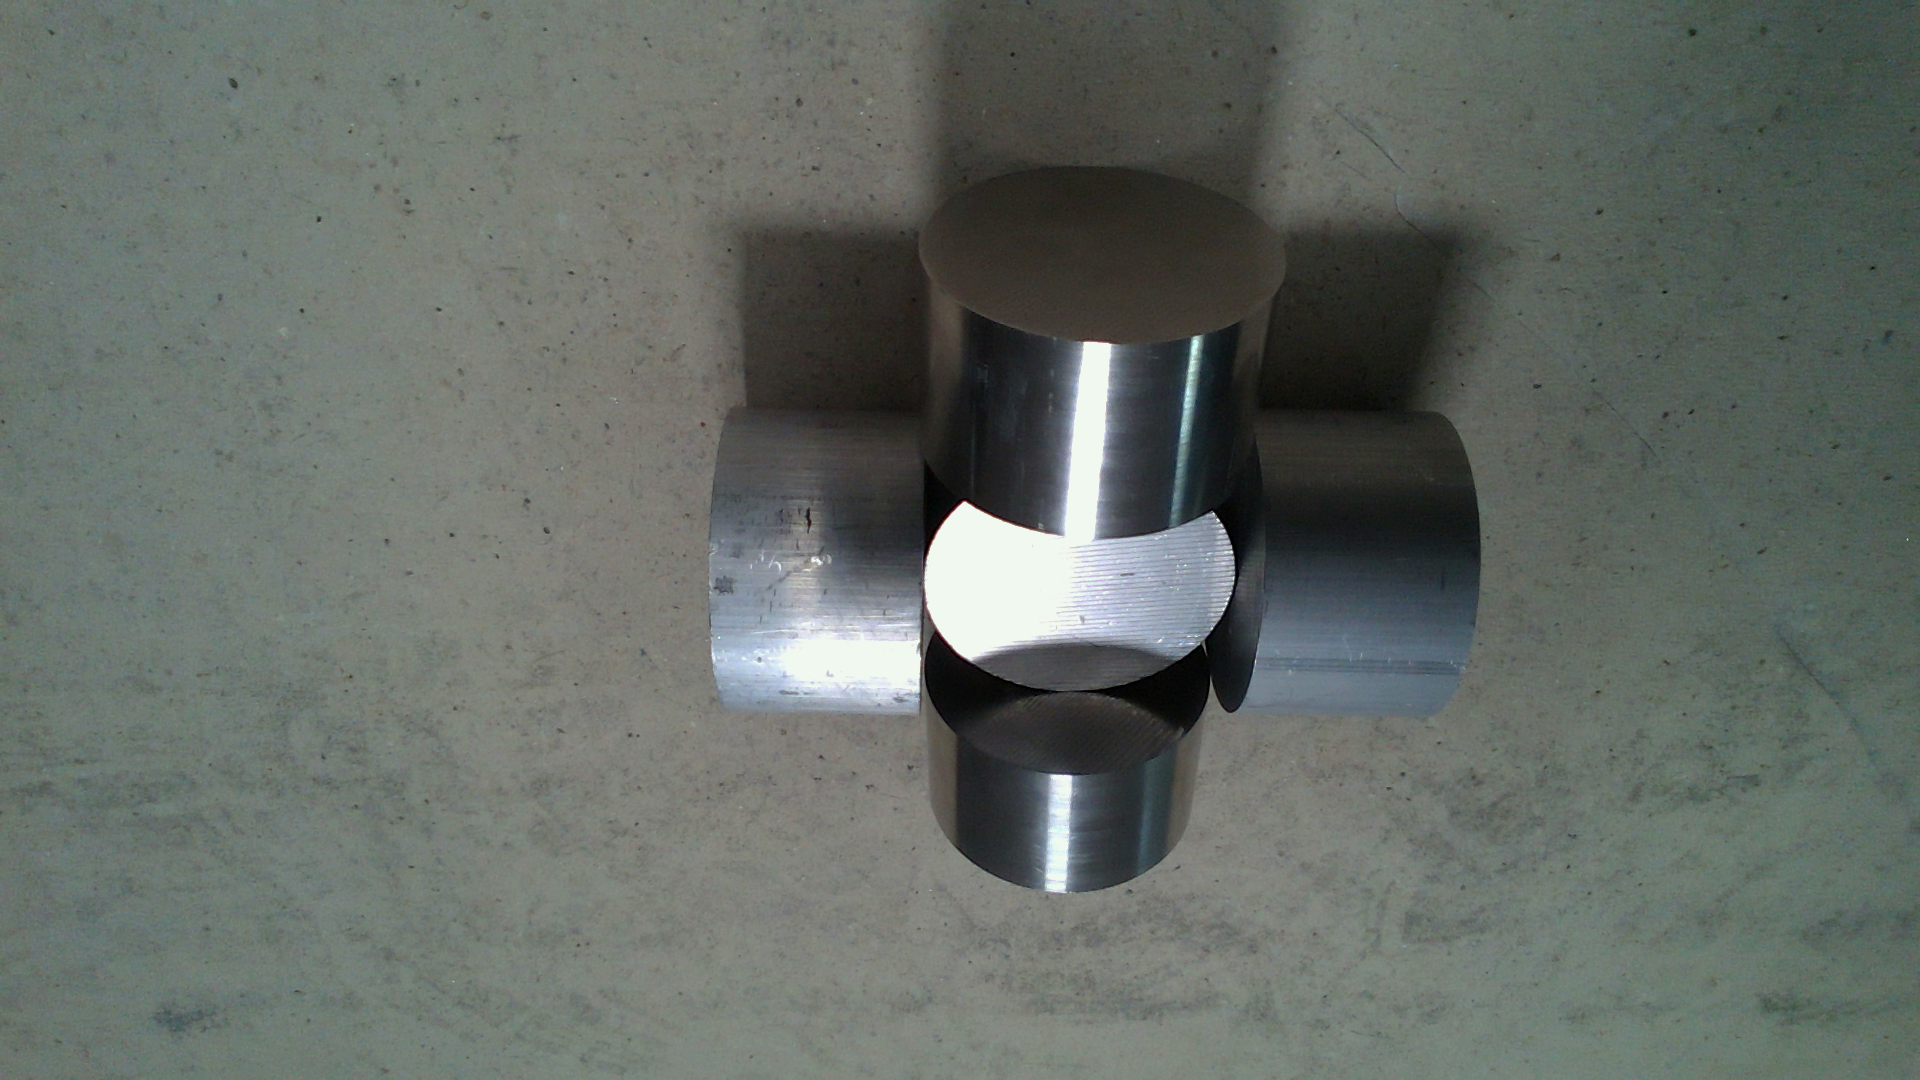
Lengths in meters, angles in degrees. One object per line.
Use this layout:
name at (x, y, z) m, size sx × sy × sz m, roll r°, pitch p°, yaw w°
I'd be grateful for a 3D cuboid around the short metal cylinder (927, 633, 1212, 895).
short metal cylinder at (0.030, 0.055, 0.401) m, size 0.080 × 0.080 × 0.050 m, roll 0°, pitch 129°, yaw 0°

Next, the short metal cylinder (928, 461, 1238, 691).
short metal cylinder at (0.031, -0.005, 0.371) m, size 0.080 × 0.050 × 0.080 m, roll 0°, pitch 130°, yaw 0°

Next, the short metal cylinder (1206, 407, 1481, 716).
short metal cylinder at (0.096, 0.006, 0.360) m, size 0.050 × 0.080 × 0.080 m, roll 2°, pitch 130°, yaw -1°

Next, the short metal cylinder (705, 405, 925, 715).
short metal cylinder at (-0.035, 0.005, 0.360) m, size 0.050 × 0.080 × 0.080 m, roll 2°, pitch 130°, yaw -1°

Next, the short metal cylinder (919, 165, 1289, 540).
short metal cylinder at (0.031, -0.045, 0.316) m, size 0.080 × 0.080 × 0.050 m, roll 1°, pitch 130°, yaw -1°
